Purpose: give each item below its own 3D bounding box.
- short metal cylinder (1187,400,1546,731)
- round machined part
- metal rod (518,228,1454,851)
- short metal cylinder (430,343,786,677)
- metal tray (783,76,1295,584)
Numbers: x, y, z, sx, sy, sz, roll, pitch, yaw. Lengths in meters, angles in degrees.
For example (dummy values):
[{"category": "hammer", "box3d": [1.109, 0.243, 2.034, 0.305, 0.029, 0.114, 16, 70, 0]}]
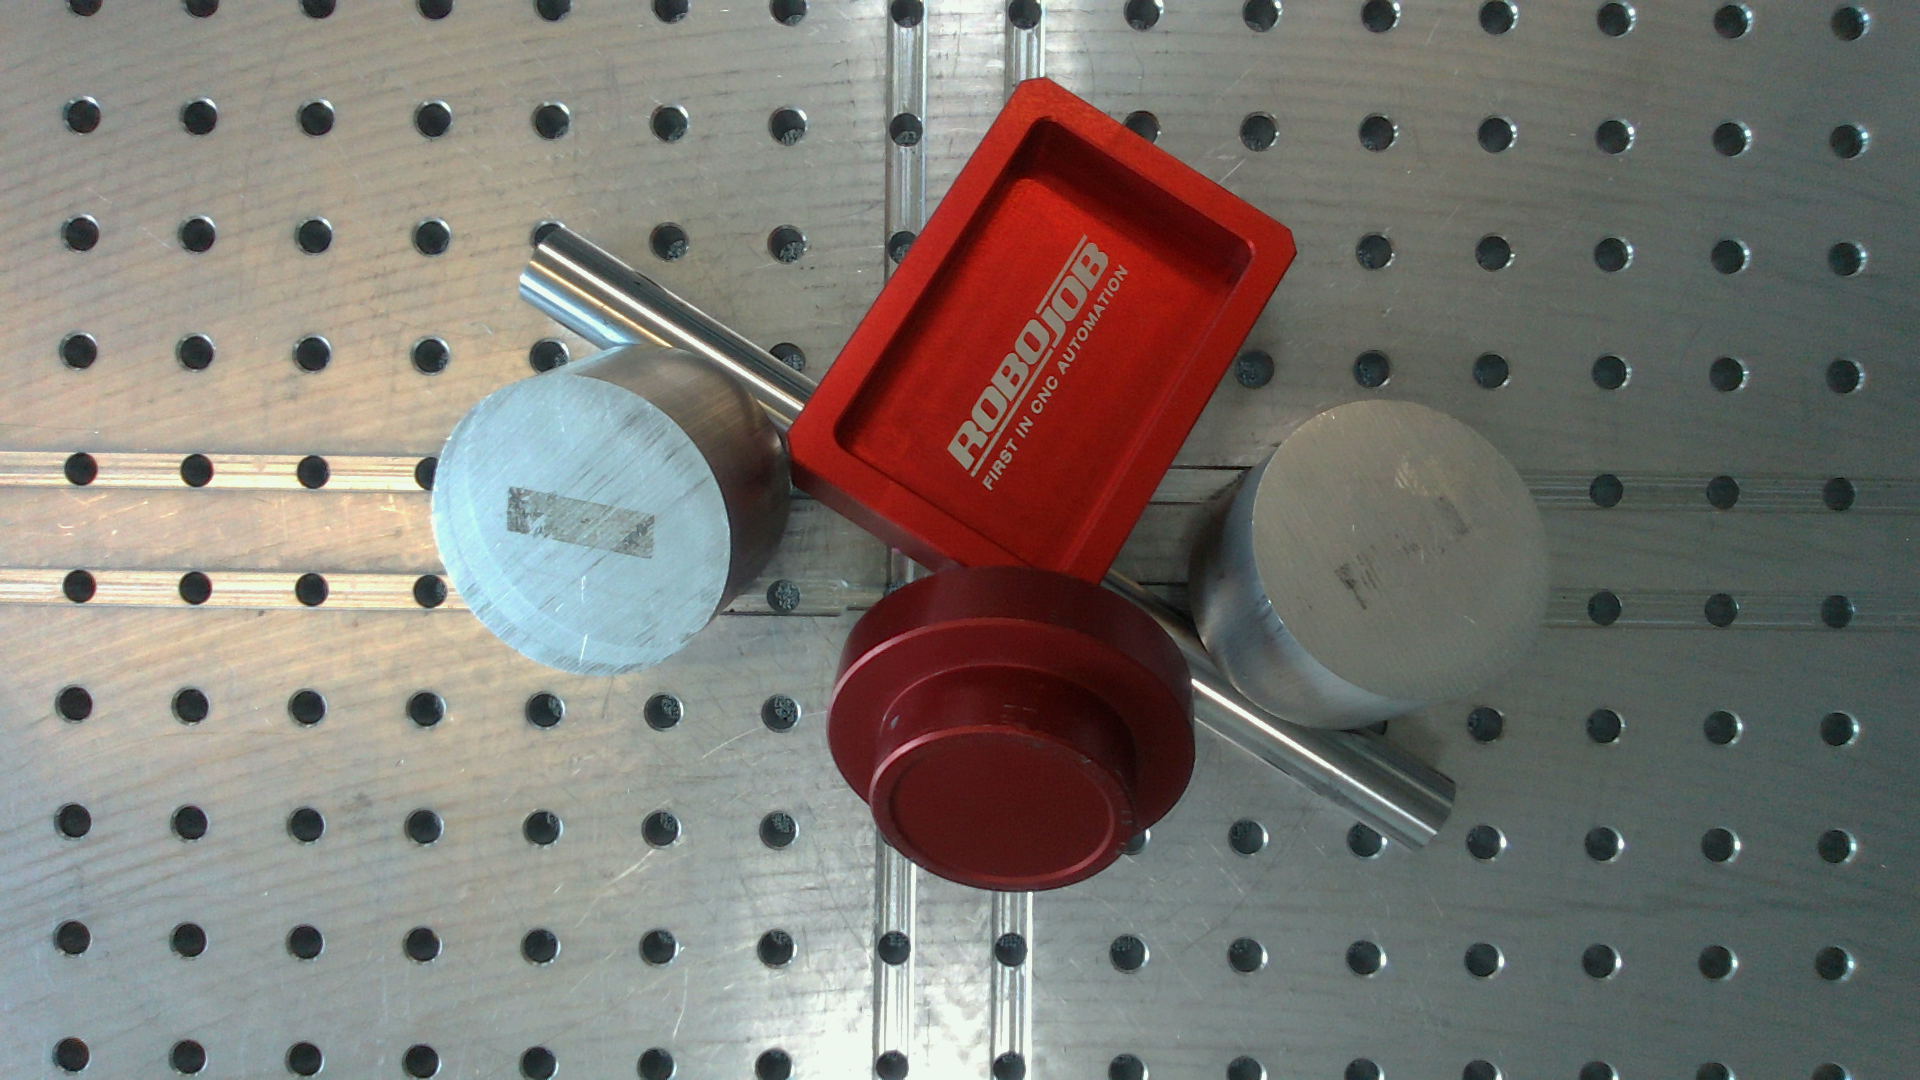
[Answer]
[{"category": "short metal cylinder", "box3d": [0.108, 0.009, 0.374, 0.080, 0.050, 0.080, 3, 73, -10]}, {"category": "round machined part", "box3d": [0.012, 0.057, 0.362, 0.098, 0.042, 0.098, 4, 133, 4]}, {"category": "metal rod", "box3d": [0.007, 0.000, 0.398, 0.300, 0.025, 0.025, 32, 90, 0]}, {"category": "short metal cylinder", "box3d": [-0.093, -0.010, 0.373, 0.080, 0.050, 0.080, 3, 107, 9]}, {"category": "metal tray", "box3d": [0.022, -0.051, 0.380, 0.090, 0.030, 0.130, 32, 77, 0]}]
